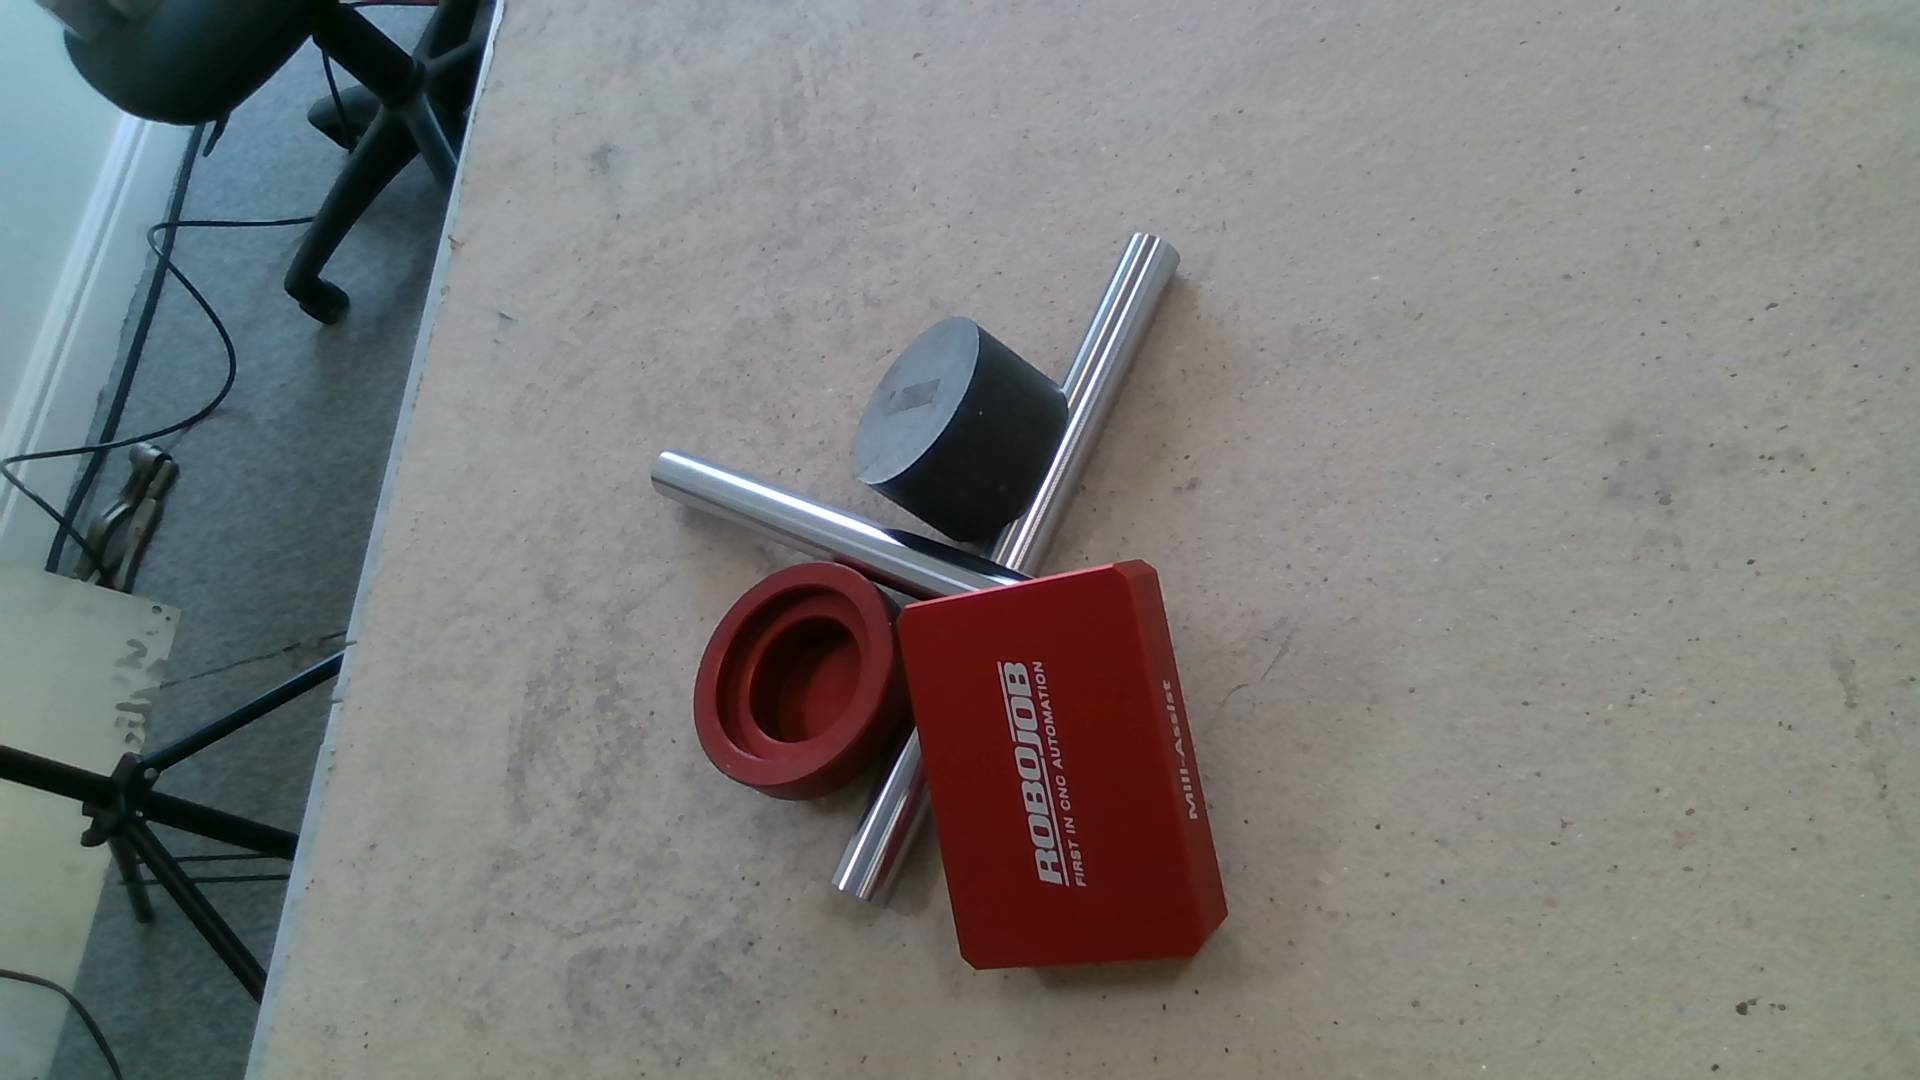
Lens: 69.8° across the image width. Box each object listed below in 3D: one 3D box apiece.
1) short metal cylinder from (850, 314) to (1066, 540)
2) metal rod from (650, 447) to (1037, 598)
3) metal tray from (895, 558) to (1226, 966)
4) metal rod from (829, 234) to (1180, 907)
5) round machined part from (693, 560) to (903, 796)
[{"bbox_3d":[-0.002,-0.047,0.579,0.080,0.050,0.080,-38,34,31],"label":"short metal cylinder"},{"bbox_3d":[-0.043,0.001,0.590,0.300,0.025,0.025,19,76,44],"label":"metal rod"},{"bbox_3d":[0.034,0.078,0.484,0.090,0.030,0.130,-12,88,26],"label":"metal tray"},{"bbox_3d":[0.022,0.006,0.570,0.025,0.025,0.300,16,75,36],"label":"metal rod"},{"bbox_3d":[-0.061,0.061,0.580,0.098,0.042,0.098,-14,59,25],"label":"round machined part"}]
